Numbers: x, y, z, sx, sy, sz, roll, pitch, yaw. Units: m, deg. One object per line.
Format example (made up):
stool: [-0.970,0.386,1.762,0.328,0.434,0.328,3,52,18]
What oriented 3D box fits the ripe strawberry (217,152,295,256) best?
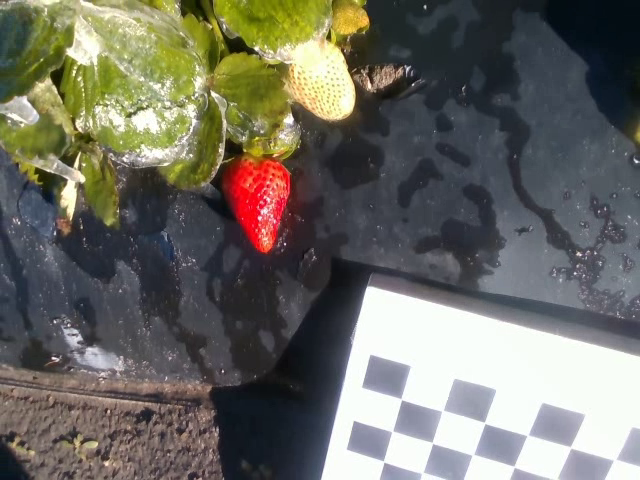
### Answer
ripe strawberry: [-0.035,-0.015,0.316,0.042,0.052,0.040,-3,14,13]
